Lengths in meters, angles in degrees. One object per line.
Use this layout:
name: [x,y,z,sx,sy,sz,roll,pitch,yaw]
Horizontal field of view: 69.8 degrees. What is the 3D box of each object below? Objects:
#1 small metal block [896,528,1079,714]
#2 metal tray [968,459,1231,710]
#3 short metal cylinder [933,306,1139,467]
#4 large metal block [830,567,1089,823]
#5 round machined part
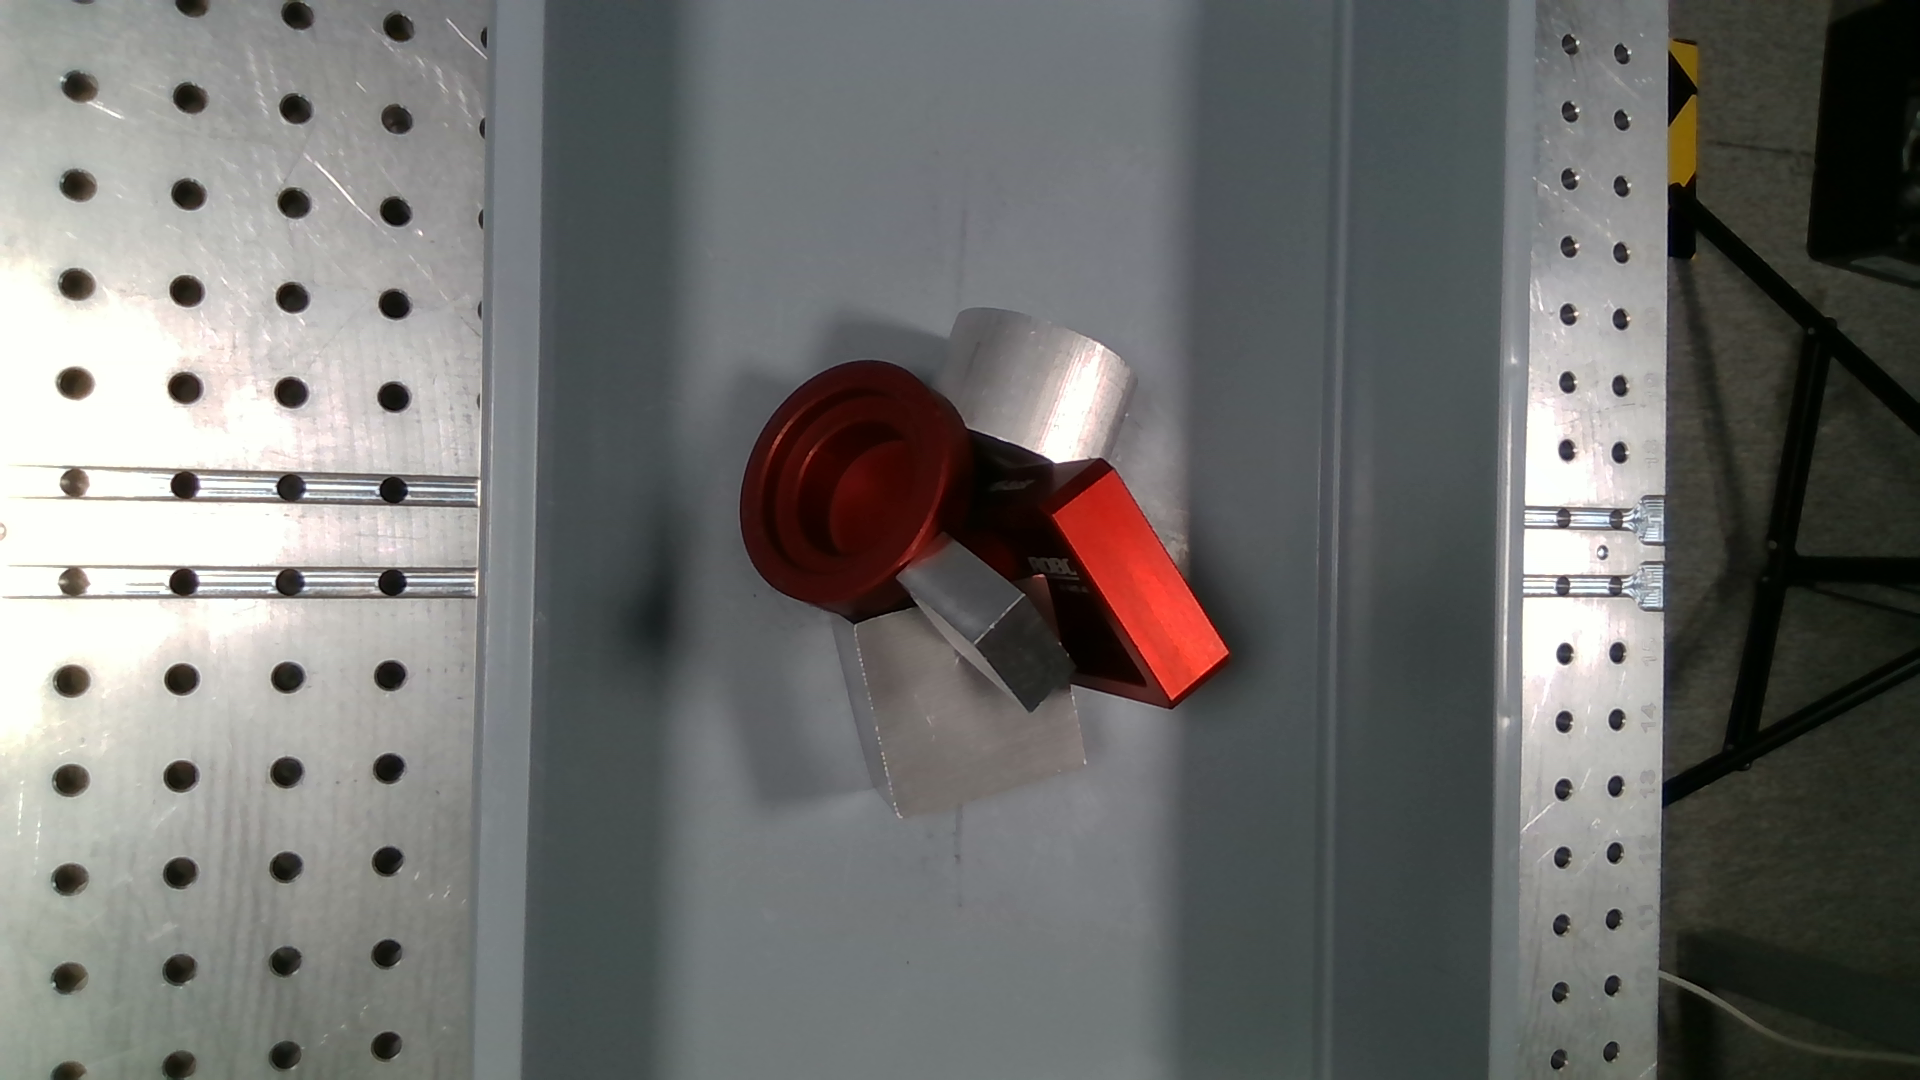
small metal block: [0.010,0.030,0.503,0.025,0.050,0.050,-44,136,-8]
metal tray: [0.043,0.016,0.544,0.030,0.130,0.090,-37,102,-15]
short metal cylinder: [0.027,-0.055,0.565,0.080,0.080,0.050,24,82,-19]
large metal block: [-0.002,0.060,0.563,0.080,0.050,0.080,-15,95,-15]
round machined part: [-0.036,-0.018,0.543,0.042,0.098,0.098,29,78,-54]
